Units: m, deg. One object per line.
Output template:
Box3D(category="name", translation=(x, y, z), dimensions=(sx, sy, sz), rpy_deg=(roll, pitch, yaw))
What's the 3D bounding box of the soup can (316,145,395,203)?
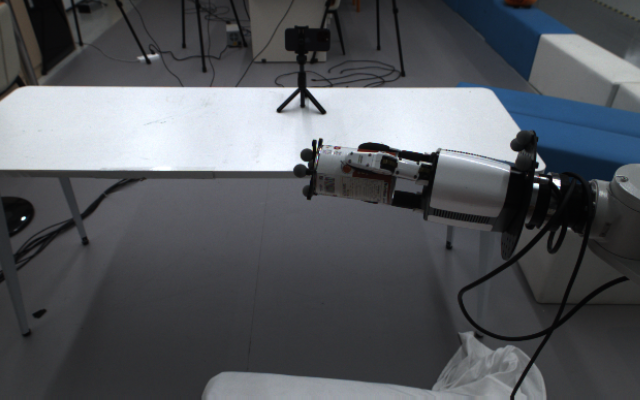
Box3D(category="soup can", translation=(0.050, -0.034, 0.631), dimensions=(0.101, 0.067, 0.067), rpy_deg=(7, 35, 10))
